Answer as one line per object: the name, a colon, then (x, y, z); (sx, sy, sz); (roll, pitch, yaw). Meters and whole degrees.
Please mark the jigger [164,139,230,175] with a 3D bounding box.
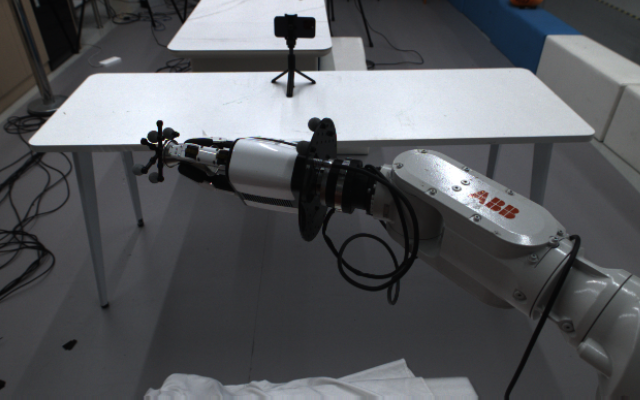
jigger: (-0.172, -0.062, 0.668); (0.071, 0.043, 0.043); (10, 36, 16)
